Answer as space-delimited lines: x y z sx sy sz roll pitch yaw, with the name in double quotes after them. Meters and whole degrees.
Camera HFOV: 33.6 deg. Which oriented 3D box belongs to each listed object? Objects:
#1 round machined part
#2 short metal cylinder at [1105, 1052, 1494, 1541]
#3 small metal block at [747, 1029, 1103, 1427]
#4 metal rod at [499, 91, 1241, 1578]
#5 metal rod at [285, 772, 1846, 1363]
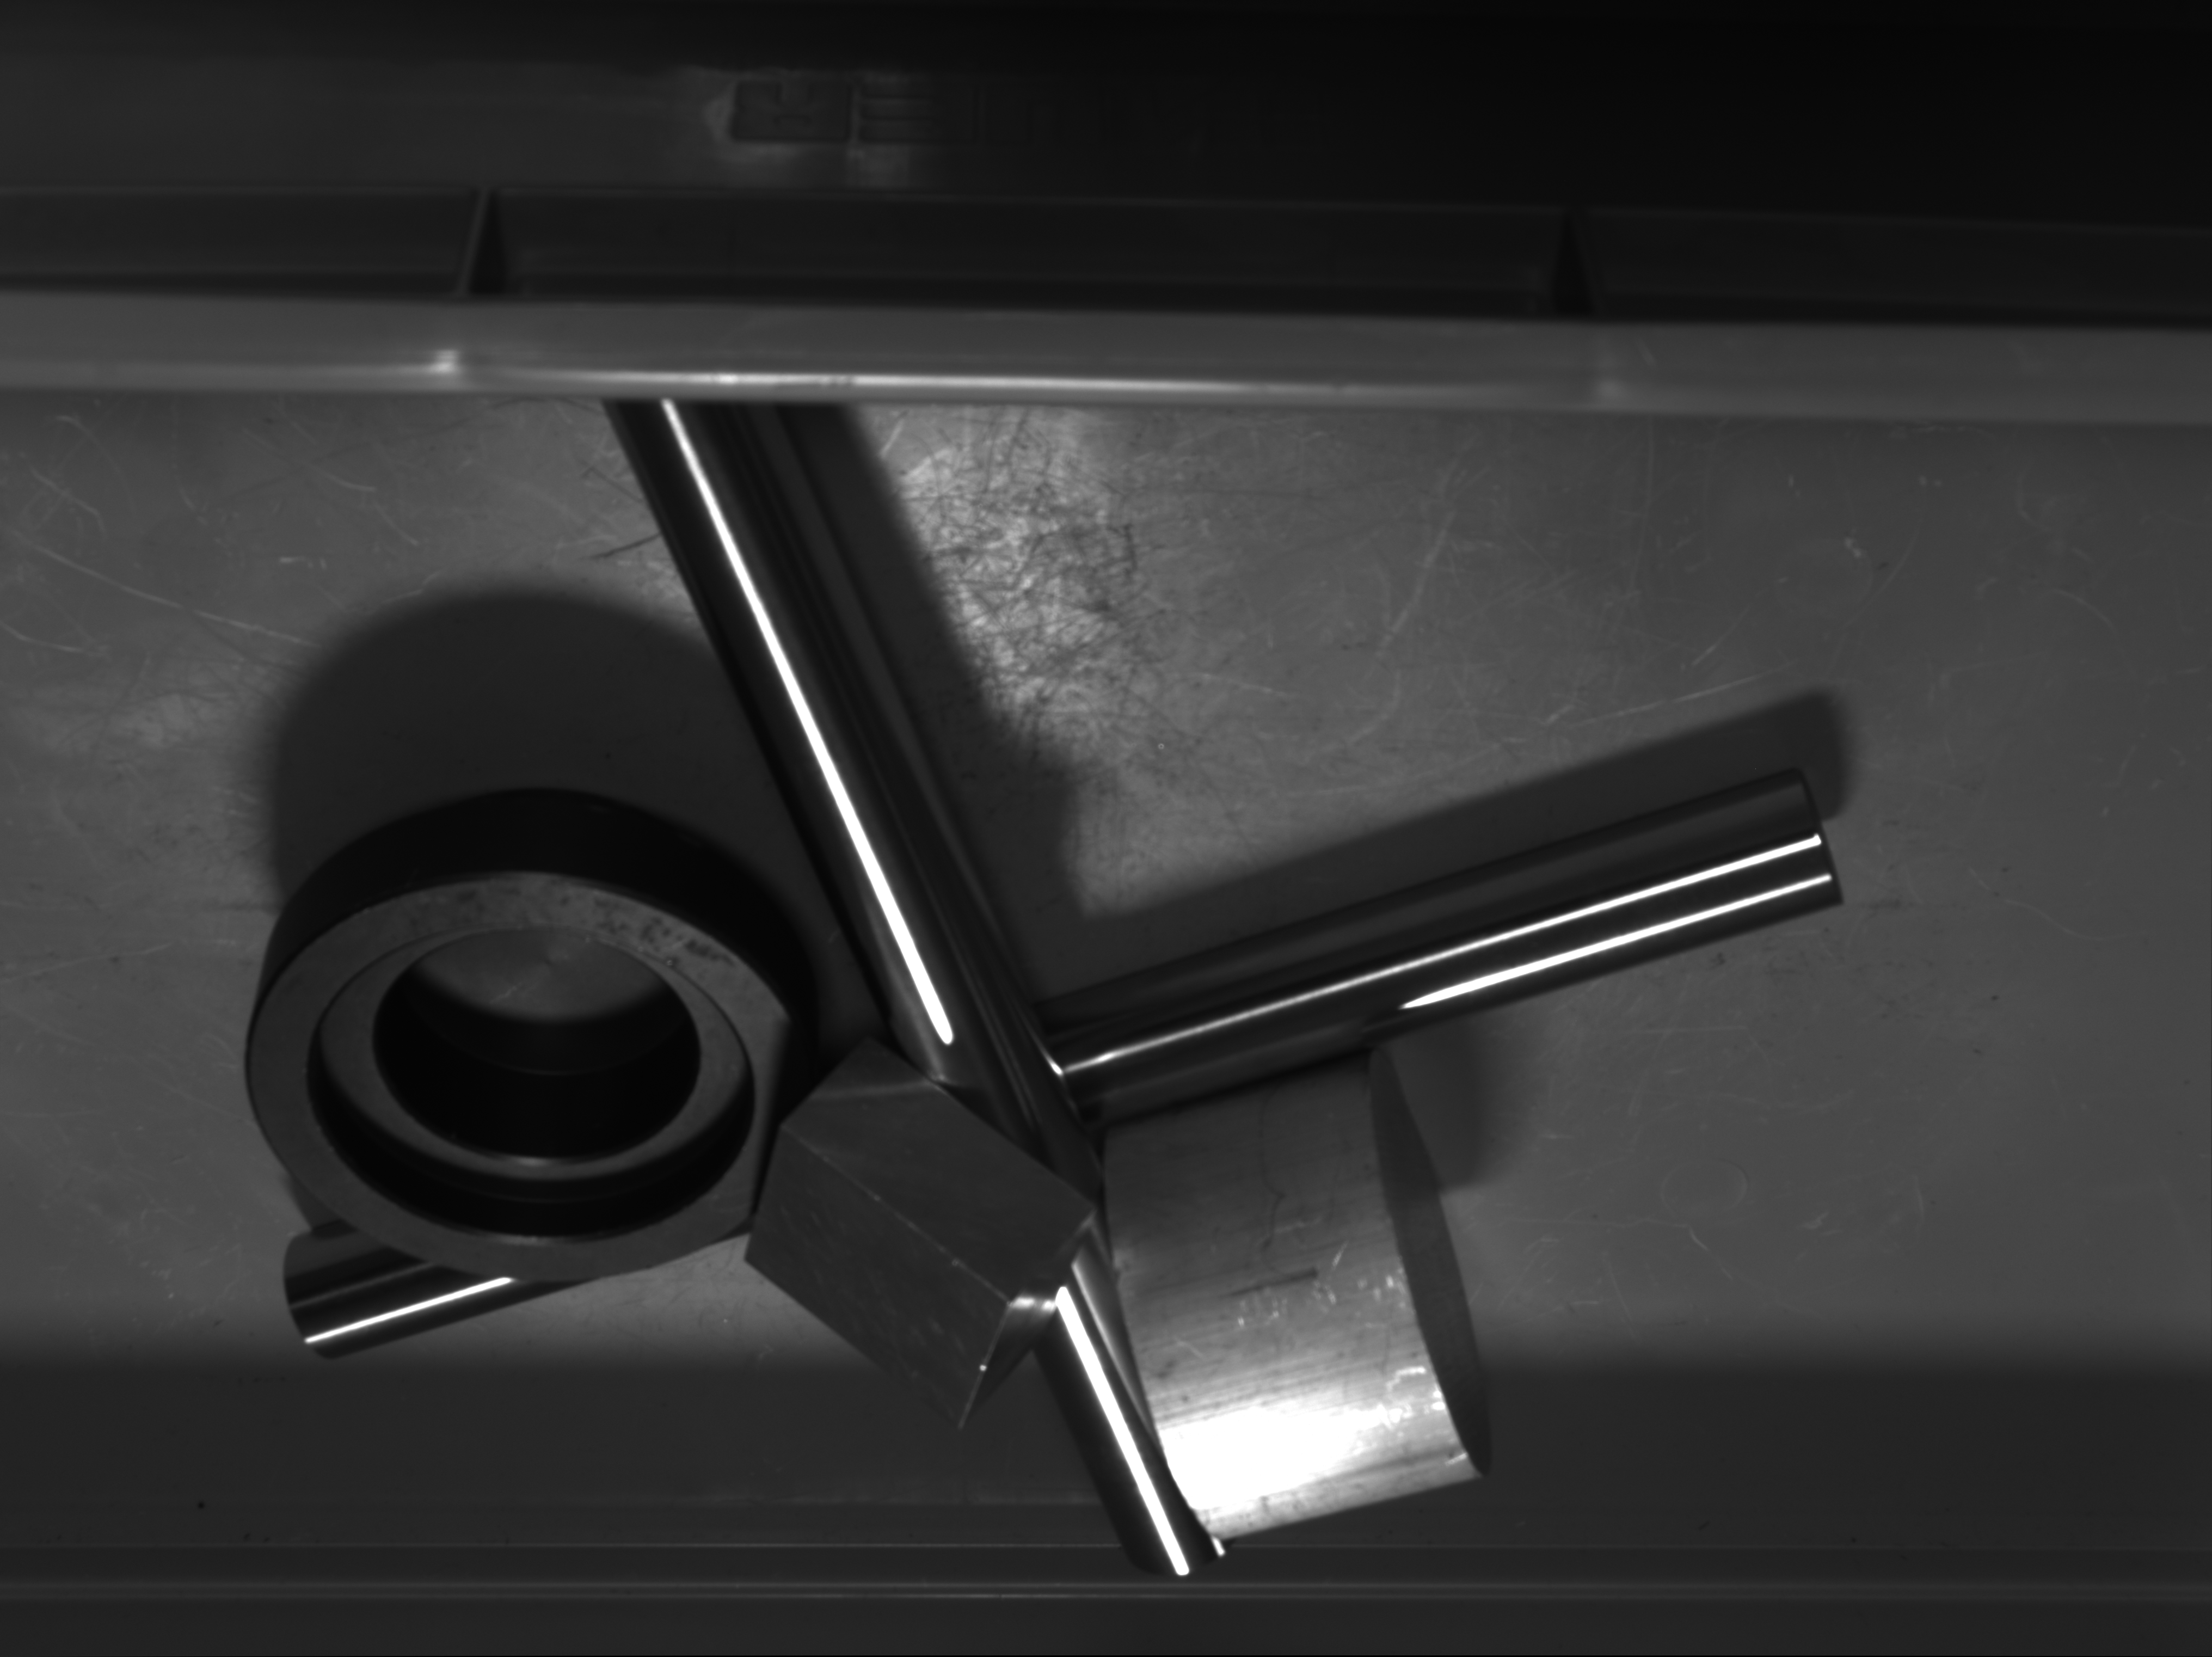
-0.100 0.031 0.649 0.098 0.042 0.098 -1 130 -1 "round machined part"
0.036 0.086 0.674 0.050 0.080 0.080 -15 129 11 "short metal cylinder"
-0.033 0.070 0.641 0.050 0.025 0.050 36 146 11 "small metal block"
-0.032 0.015 0.625 0.025 0.025 0.300 -15 122 11 "metal rod"
-0.013 0.047 0.676 0.300 0.025 0.025 -18 128 13 "metal rod"
